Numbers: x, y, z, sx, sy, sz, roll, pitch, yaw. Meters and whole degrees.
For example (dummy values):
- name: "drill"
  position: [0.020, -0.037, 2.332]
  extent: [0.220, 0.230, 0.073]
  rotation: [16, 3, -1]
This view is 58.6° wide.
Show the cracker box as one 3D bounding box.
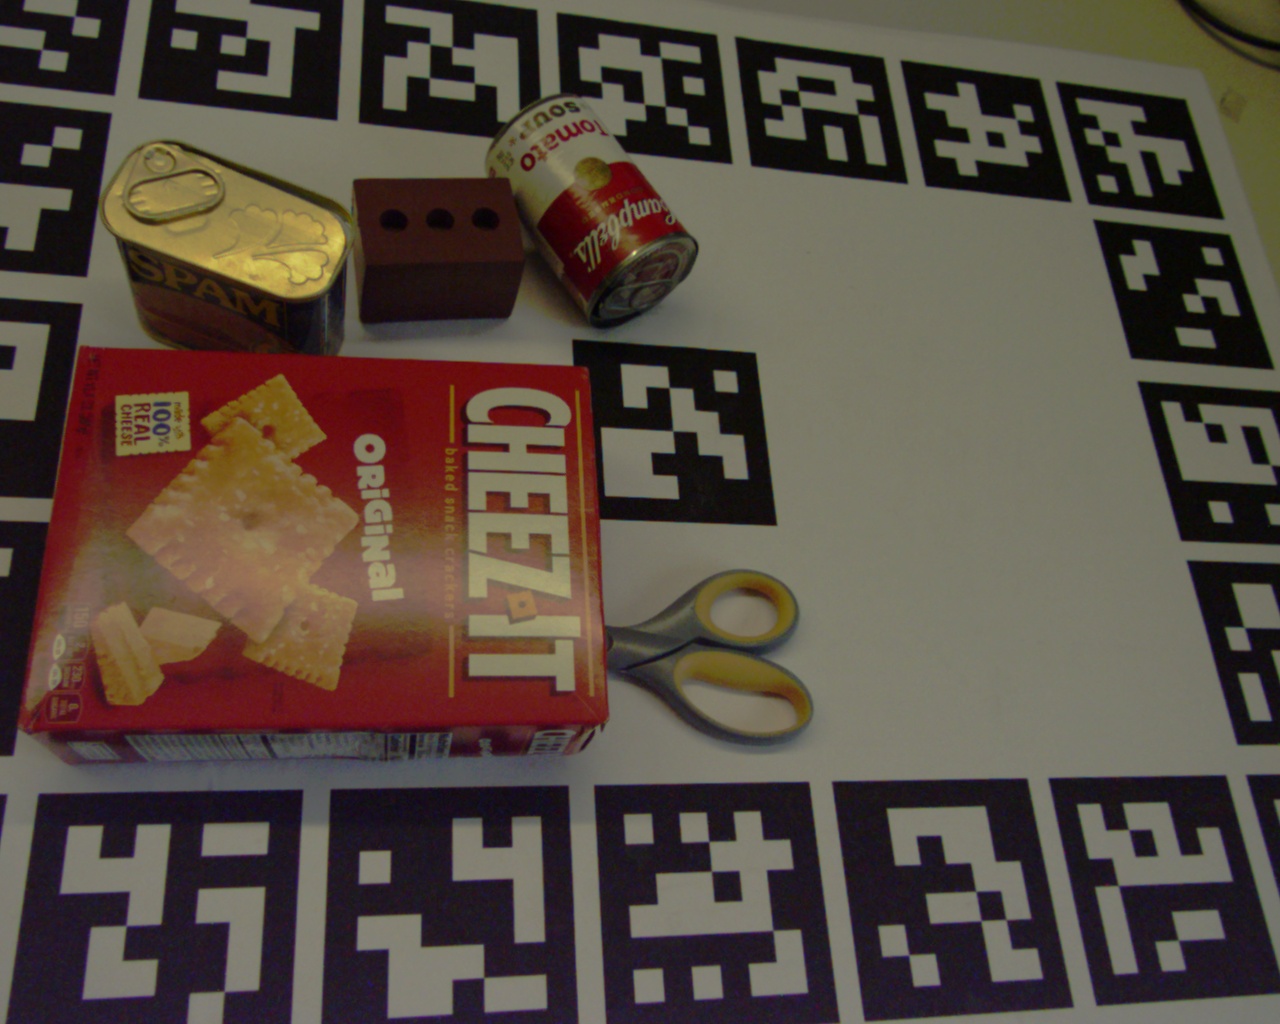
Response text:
- name: "cracker box"
  position: [-0.133, 0.022, 0.509]
  extent: [0.212, 0.072, 0.165]
  rotation: [-4, 69, -11]

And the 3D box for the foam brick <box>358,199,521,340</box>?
- name: "foam brick"
  position: [-0.107, -0.128, 0.605]
  extent: [0.077, 0.051, 0.053]
  rotation: [-8, 72, -17]

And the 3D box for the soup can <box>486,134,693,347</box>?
- name: "soup can"
  position: [-0.029, -0.151, 0.632]
  extent: [0.067, 0.068, 0.102]
  rotation: [-36, 75, -24]

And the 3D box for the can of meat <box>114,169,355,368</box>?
- name: "can of meat"
  position: [-0.193, -0.109, 0.554]
  extent: [0.101, 0.084, 0.058]
  rotation: [16, 66, -8]

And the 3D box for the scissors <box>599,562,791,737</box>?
- name: "scissors"
  position: [-0.027, 0.070, 0.549]
  extent: [0.201, 0.016, 0.088]
  rotation: [-2, 70, -14]
